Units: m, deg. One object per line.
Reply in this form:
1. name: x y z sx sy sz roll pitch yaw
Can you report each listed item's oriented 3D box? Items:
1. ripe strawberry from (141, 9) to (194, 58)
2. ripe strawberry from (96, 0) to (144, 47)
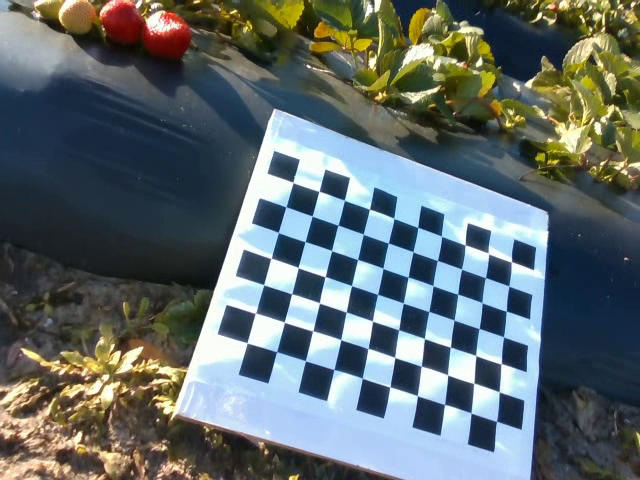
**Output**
1. ripe strawberry: -0.145 -0.199 0.579 0.056 0.052 0.067 -32 29 -25
2. ripe strawberry: -0.197 -0.213 0.574 0.050 0.044 0.061 42 19 -2
